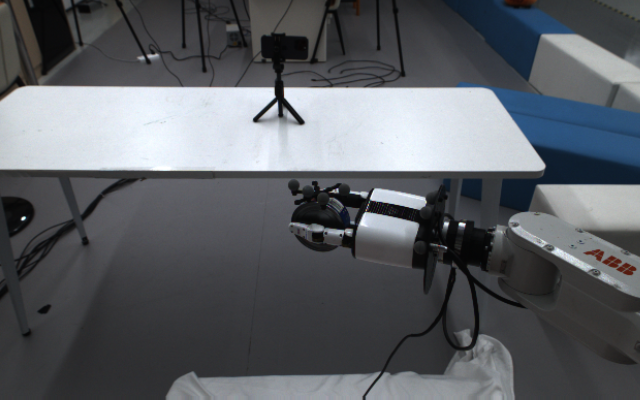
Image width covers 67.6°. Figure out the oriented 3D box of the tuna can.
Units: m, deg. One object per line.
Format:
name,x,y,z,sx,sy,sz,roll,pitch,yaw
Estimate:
tuna can,0.003,0.033,0.735,0.085,0.085,0.034,14,29,16
